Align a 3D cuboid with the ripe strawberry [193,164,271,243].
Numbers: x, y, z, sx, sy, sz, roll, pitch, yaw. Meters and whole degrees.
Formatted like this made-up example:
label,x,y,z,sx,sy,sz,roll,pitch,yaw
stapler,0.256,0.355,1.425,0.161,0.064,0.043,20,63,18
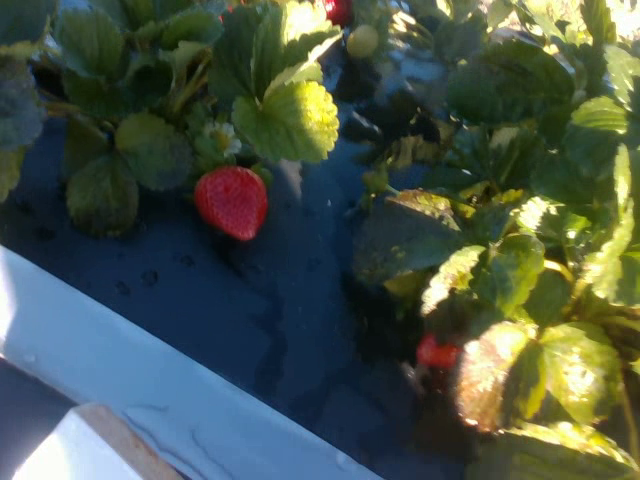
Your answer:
label,x,y,z,sx,sy,sz,roll,pitch,yaw
ripe strawberry,-0.046,-0.018,0.369,0.045,0.059,0.042,-27,-32,13
